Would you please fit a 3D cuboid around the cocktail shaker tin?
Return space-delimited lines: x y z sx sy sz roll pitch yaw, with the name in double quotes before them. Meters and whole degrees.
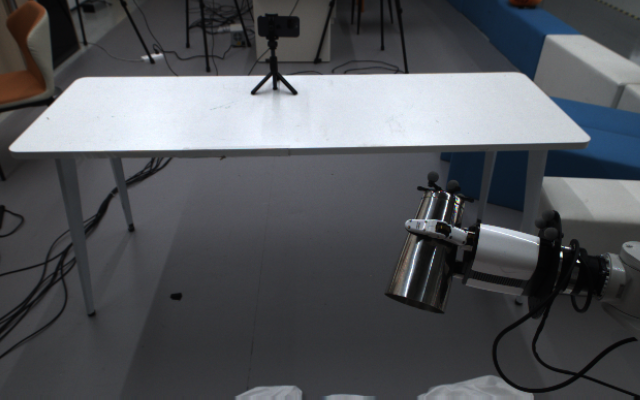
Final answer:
"cocktail shaker tin" 0.167 0.075 0.733 0.093 0.093 0.170 15 74 18
